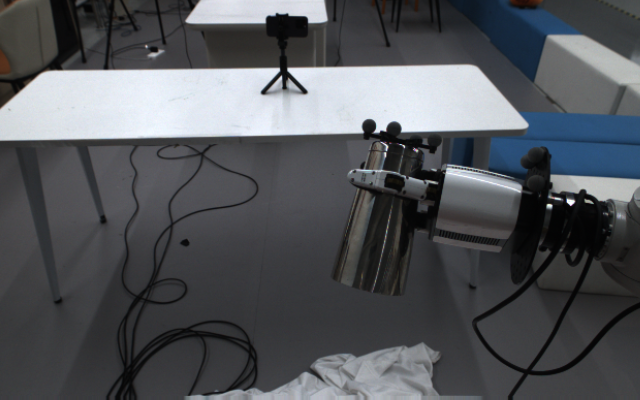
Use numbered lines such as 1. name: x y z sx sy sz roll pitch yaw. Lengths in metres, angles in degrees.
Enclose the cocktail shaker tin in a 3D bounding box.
1. cocktail shaker tin: 0.080 0.017 0.587 0.093 0.170 0.093 13 1 0
